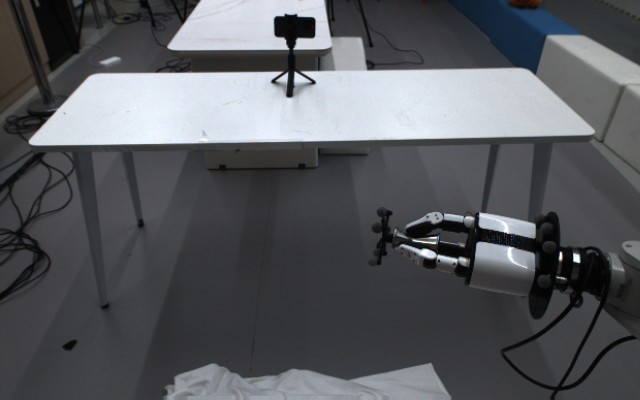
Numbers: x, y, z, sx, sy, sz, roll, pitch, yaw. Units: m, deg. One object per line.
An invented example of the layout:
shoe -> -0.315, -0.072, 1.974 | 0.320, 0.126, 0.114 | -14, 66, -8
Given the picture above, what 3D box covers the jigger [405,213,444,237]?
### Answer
jigger -> 0.155, 0.063, 0.751 | 0.071, 0.043, 0.043 | 9, 35, 17
